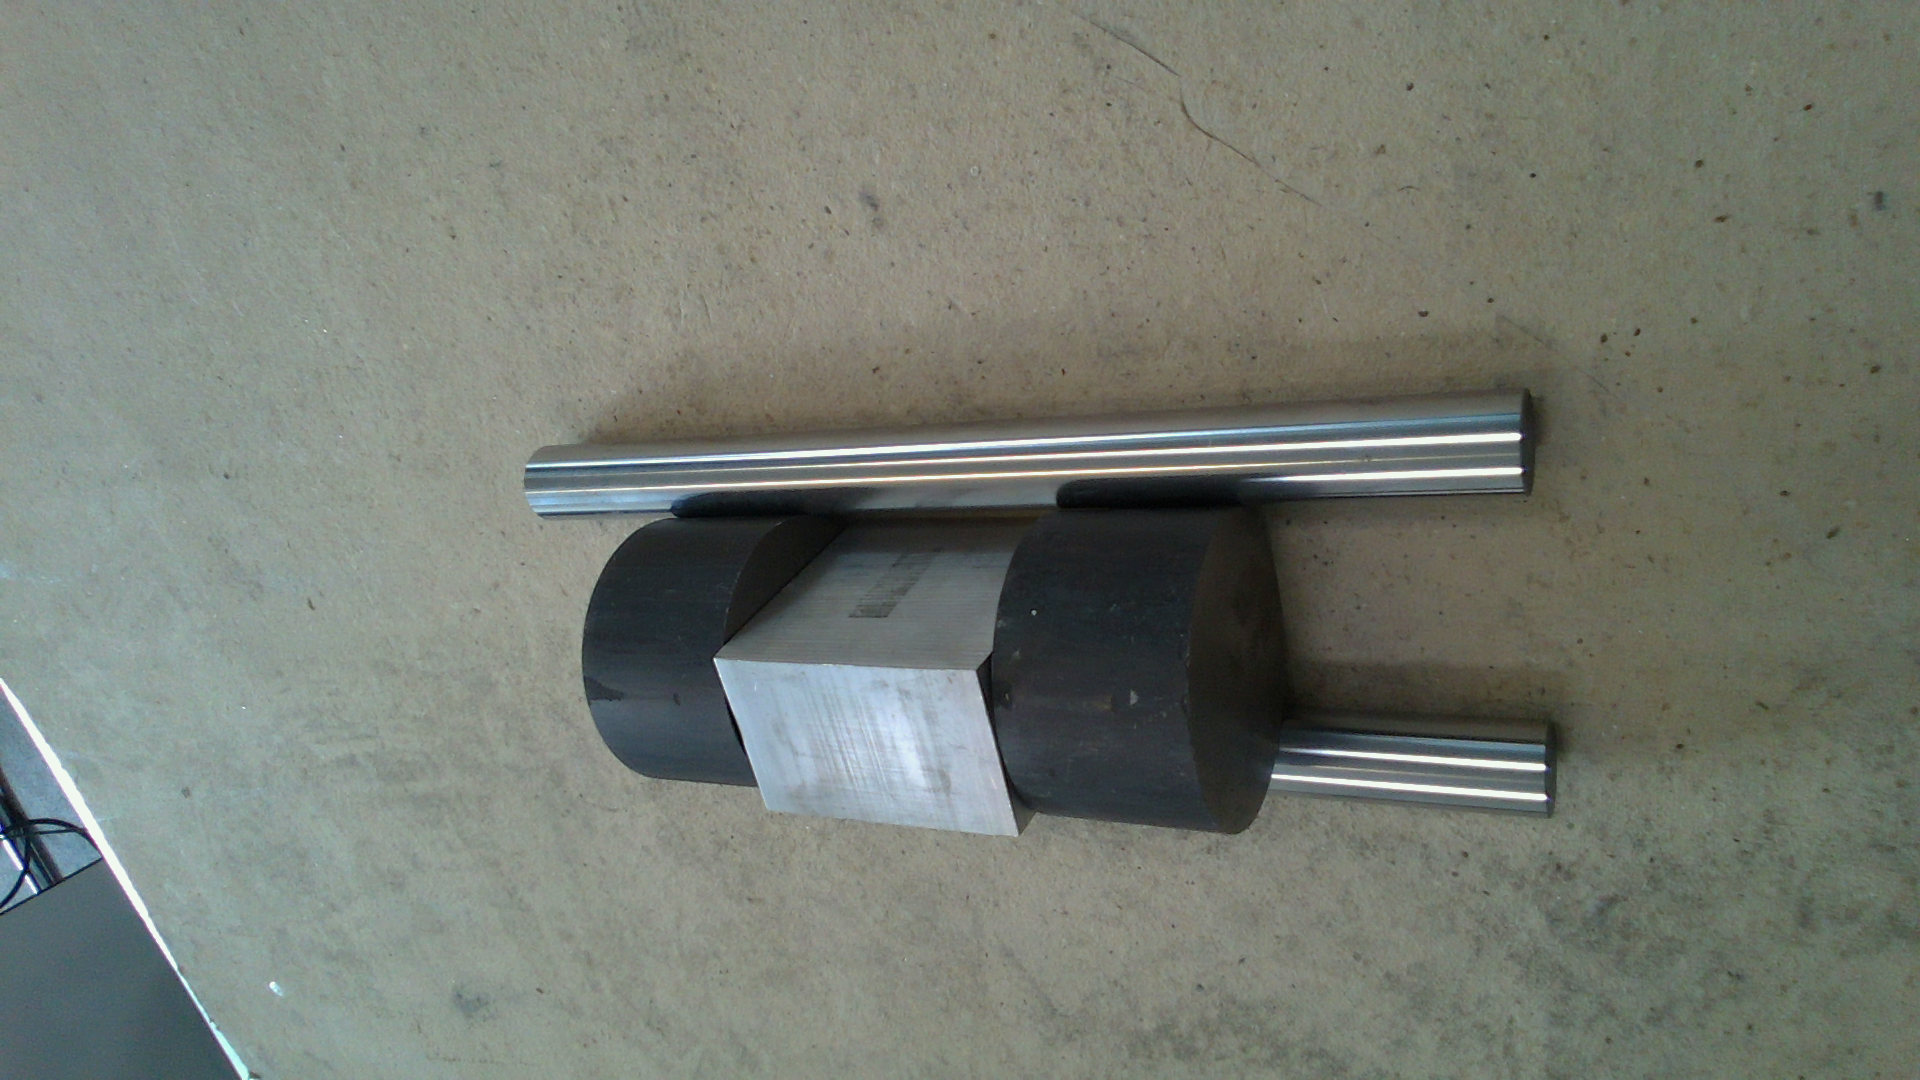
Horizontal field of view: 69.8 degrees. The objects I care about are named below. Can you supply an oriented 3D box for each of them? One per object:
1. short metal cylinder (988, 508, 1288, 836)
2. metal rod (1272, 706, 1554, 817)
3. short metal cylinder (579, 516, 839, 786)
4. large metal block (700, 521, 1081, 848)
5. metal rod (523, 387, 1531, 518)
[{"bbox_3d":[0.048,0.032,0.351,0.050,0.080,0.080,-1,118,29],"label":"short metal cylinder"},{"bbox_3d":[0.018,0.059,0.420,0.299,0.025,0.025,-1,118,29],"label":"metal rod"},{"bbox_3d":[-0.067,0.033,0.413,0.050,0.080,0.080,-1,118,29],"label":"short metal cylinder"},{"bbox_3d":[-0.010,0.035,0.381,0.080,0.080,0.050,0,118,28],"label":"large metal block"},{"bbox_3d":[-0.003,-0.021,0.382,0.299,0.025,0.025,-1,118,29],"label":"metal rod"}]
